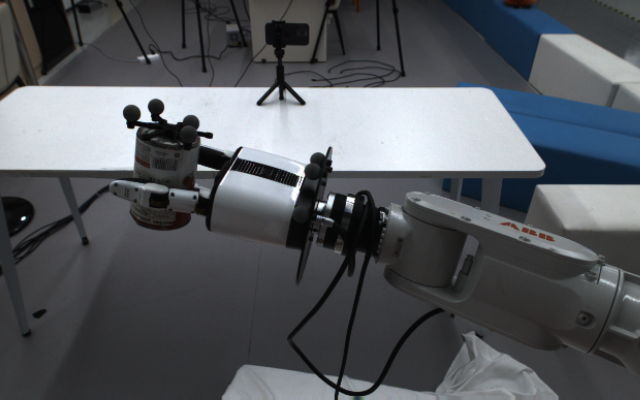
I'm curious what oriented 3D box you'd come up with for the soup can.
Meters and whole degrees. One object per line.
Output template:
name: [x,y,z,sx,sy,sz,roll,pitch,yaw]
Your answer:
soup can: [-0.171,-0.025,0.539,0.067,0.101,0.067,12,24,-6]
